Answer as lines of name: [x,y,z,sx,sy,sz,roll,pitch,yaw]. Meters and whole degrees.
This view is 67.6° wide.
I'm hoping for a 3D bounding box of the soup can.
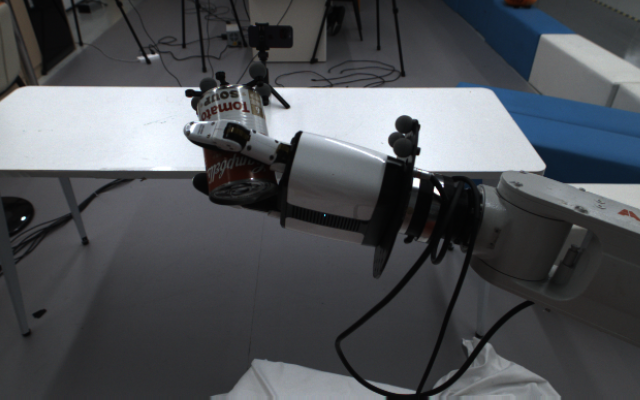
soup can: [-0.080,-0.053,0.481,0.067,0.067,0.101,-8,74,-14]
